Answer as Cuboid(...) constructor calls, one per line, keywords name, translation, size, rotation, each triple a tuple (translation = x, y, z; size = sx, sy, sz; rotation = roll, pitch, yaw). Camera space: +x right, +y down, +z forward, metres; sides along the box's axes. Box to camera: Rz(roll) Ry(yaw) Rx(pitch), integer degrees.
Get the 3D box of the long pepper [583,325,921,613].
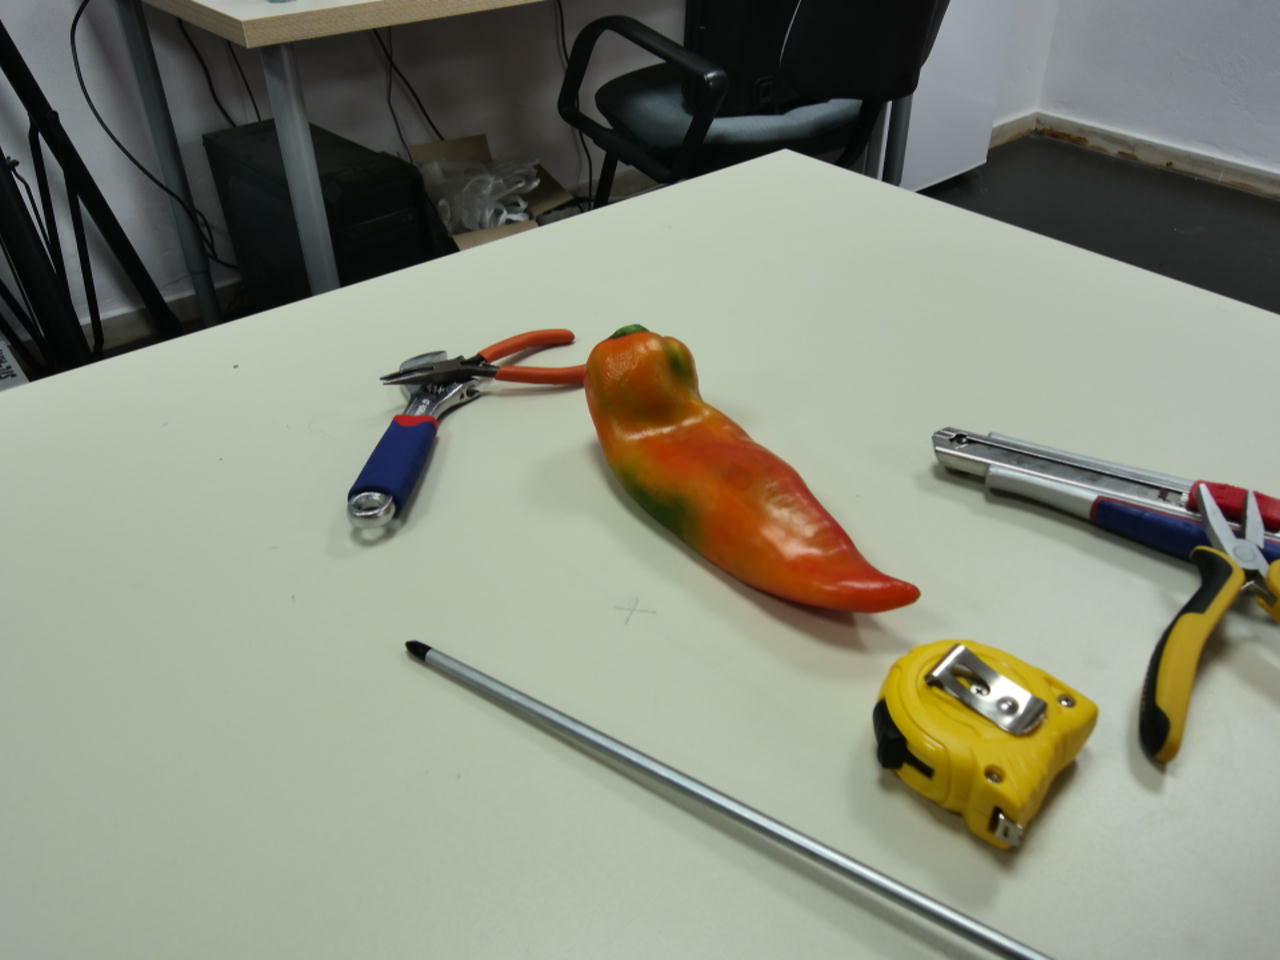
Cuboid(name="long pepper", translation=(0.040, -0.007, 0.430), size=(0.066, 0.065, 0.199), rotation=(-20, 39, -25))
